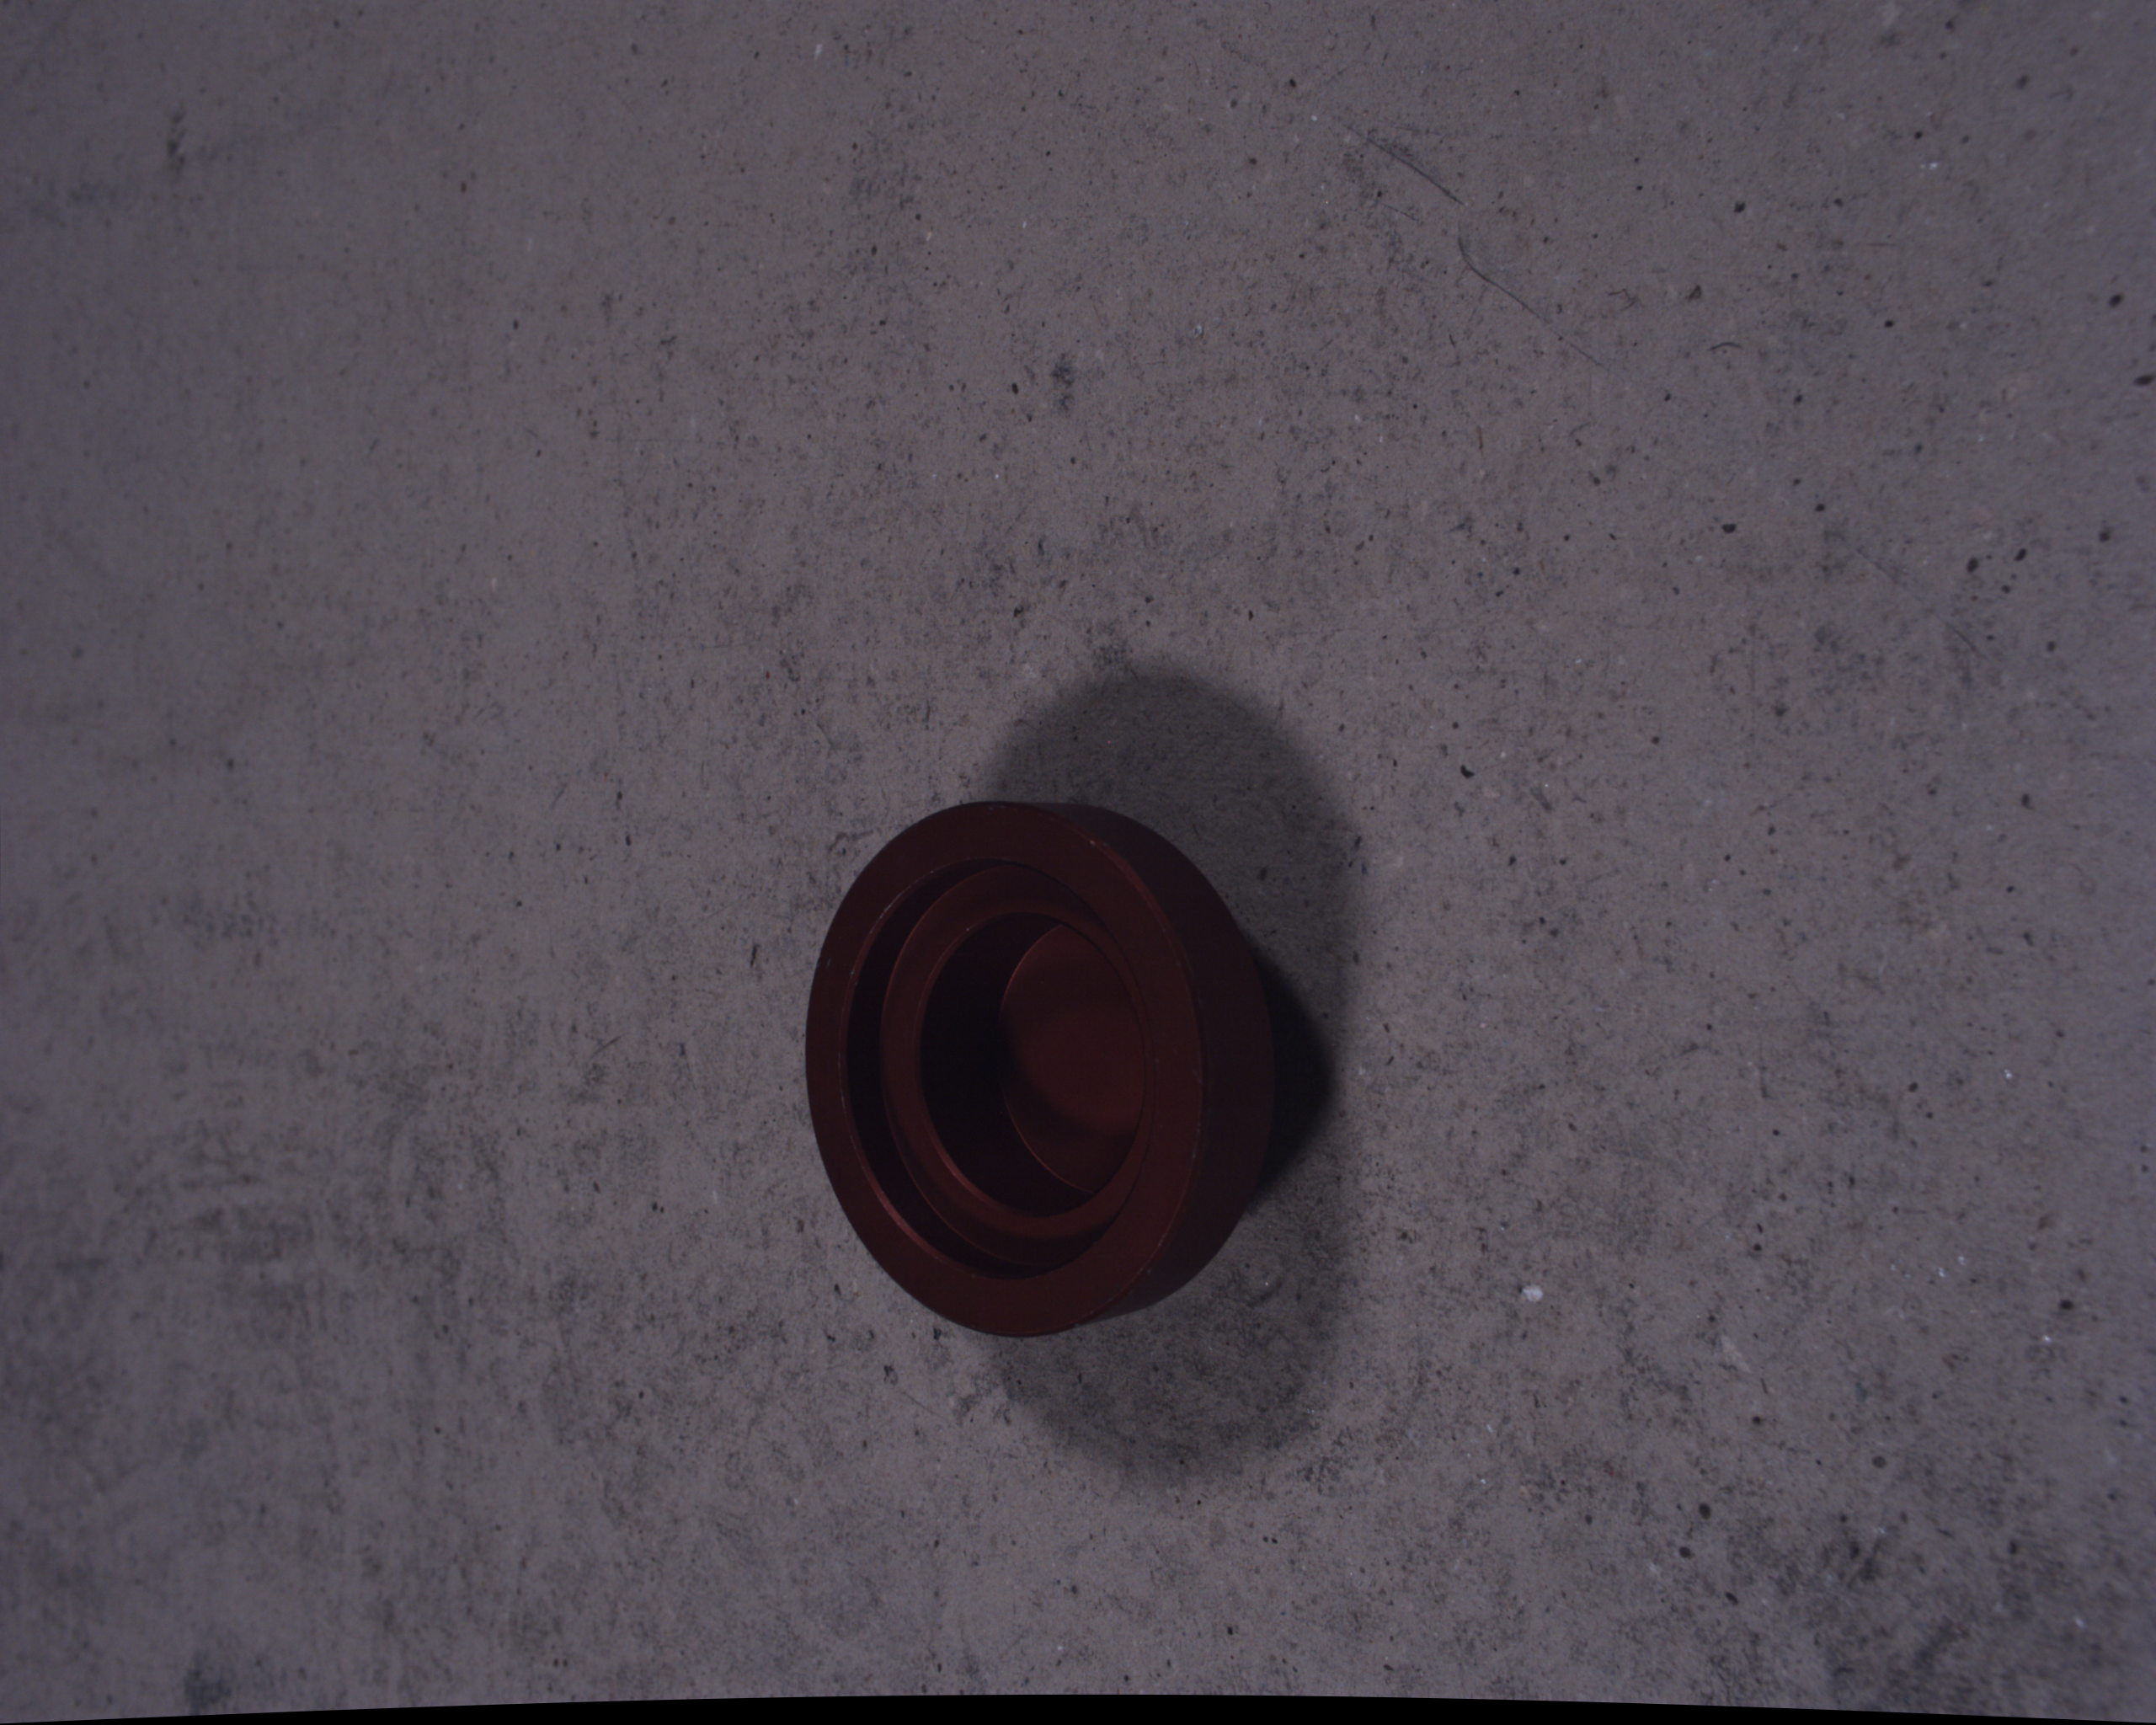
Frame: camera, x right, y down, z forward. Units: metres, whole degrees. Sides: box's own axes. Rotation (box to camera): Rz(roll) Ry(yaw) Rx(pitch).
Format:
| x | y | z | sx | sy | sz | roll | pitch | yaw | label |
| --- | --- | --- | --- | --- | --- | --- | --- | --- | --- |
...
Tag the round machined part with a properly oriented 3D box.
| x | y | z | sx | sy | sz | roll | pitch | yaw | label |
| --- | --- | --- | --- | --- | --- | --- | --- | --- | --- |
| -0.003 | 0.037 | 0.396 | 0.098 | 0.042 | 0.097 | 0 | 90 | 39 | round machined part |
